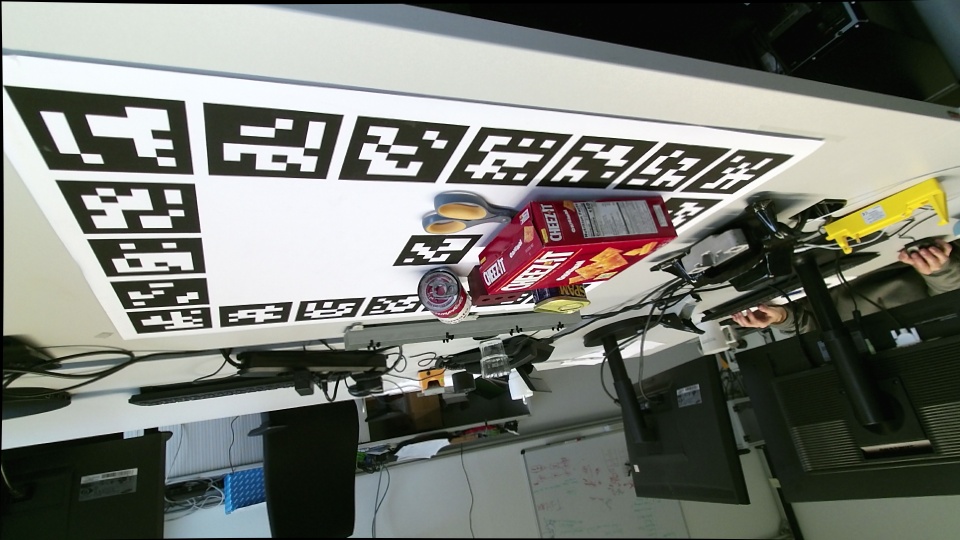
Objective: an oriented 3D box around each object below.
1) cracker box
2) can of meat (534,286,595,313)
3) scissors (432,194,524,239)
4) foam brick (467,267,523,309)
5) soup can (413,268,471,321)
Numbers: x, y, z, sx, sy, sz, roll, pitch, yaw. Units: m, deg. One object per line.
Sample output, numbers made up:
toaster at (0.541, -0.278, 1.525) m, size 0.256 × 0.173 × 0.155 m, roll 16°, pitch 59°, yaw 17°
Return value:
cracker box at (0.136, -0.030, 0.731) m, size 0.214 × 0.071 × 0.164 m, roll -9°, pitch 158°, yaw -23°
can of meat at (0.129, 0.024, 0.871) m, size 0.102 × 0.083 × 0.058 m, roll 5°, pitch 150°, yaw -38°
scissors at (0.038, -0.068, 0.663) m, size 0.203 × 0.016 × 0.088 m, roll -5°, pitch 155°, yaw -22°
foam brick at (0.026, 0.025, 0.862) m, size 0.078 × 0.051 × 0.053 m, roll -7°, pitch 156°, yaw -16°
soup can at (-0.058, 0.041, 0.848) m, size 0.068 × 0.067 × 0.102 m, roll -18°, pitch 163°, yaw 9°
